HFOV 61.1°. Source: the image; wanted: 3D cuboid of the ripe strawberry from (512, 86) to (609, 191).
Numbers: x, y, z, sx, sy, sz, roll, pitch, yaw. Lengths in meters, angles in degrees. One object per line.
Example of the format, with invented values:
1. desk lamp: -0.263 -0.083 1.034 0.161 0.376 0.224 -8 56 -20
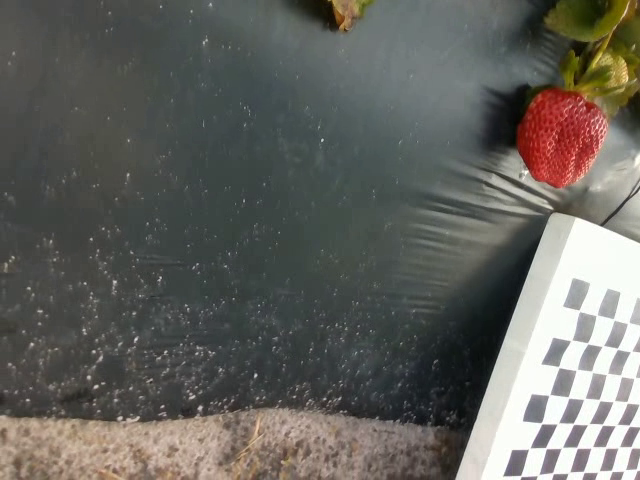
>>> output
1. ripe strawberry: 0.162 -0.068 0.360 0.067 0.075 0.039 19 2 -30
